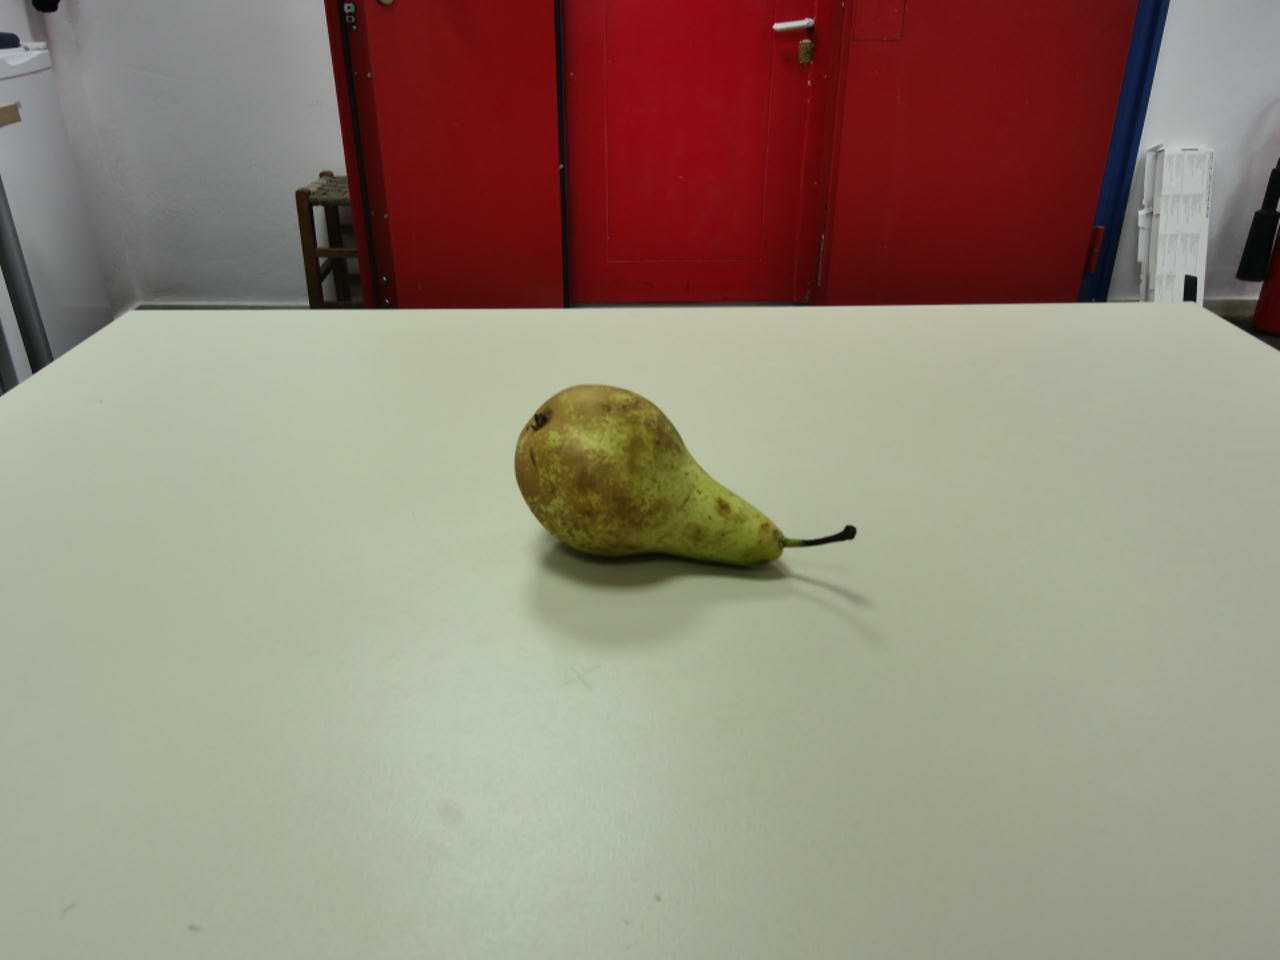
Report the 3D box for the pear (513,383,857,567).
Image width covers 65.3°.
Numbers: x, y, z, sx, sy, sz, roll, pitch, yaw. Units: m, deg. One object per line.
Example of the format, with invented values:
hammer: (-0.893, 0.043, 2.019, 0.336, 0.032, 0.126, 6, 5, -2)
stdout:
pear: (0.018, -0.003, 0.429, 0.144, 0.075, 0.071, 2, 25, 6)
